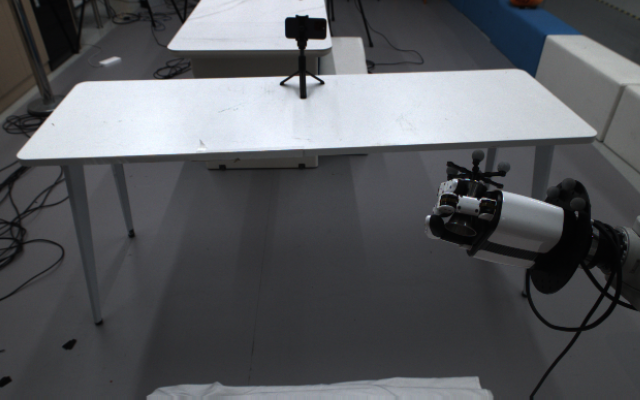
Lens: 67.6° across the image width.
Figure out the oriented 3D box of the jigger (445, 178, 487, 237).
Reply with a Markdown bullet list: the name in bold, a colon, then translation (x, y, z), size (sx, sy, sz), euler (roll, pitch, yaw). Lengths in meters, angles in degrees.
- **jigger**: translation (0.203, 0.008, 0.666), size (0.043, 0.043, 0.071), euler (15, 70, 18)
